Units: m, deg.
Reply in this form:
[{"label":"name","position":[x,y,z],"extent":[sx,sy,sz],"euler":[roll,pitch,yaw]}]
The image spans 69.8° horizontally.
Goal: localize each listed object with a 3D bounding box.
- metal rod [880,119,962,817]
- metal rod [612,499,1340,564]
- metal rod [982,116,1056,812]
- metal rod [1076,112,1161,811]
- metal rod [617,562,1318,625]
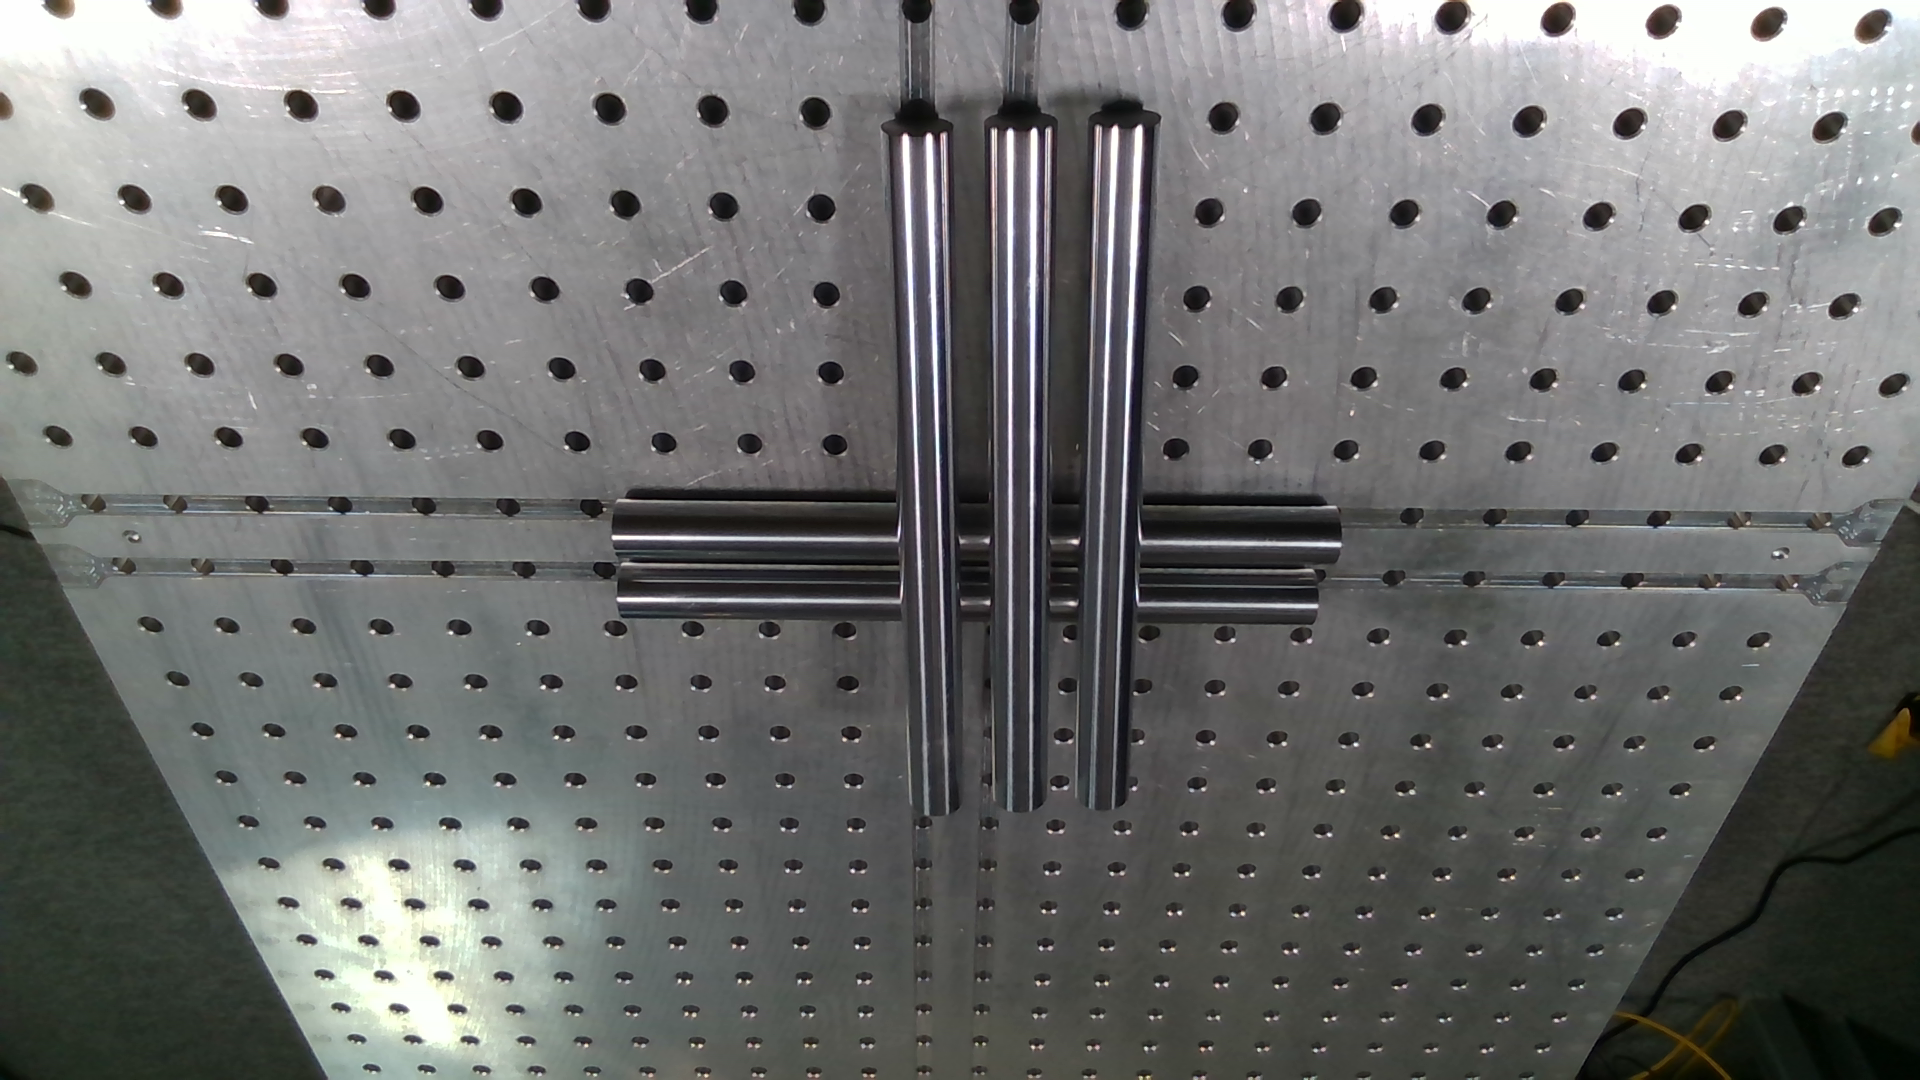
[{"label":"metal rod","position":[-0.013,-0.011,0.545],"extent":[0.025,0.025,0.301],"euler":[-1,122,0]},{"label":"metal rod","position":[0.007,-0.004,0.579],"extent":[0.300,0.025,0.025],"euler":[1,130,-1]},{"label":"metal rod","position":[0.023,-0.013,0.544],"extent":[0.025,0.025,0.301],"euler":[-1,122,1]},{"label":"metal rod","position":[0.060,-0.014,0.544],"extent":[0.025,0.025,0.301],"euler":[-1,122,1]},{"label":"metal rod","position":[0.004,0.023,0.602],"extent":[0.300,0.025,0.025],"euler":[1,130,-1]}]
